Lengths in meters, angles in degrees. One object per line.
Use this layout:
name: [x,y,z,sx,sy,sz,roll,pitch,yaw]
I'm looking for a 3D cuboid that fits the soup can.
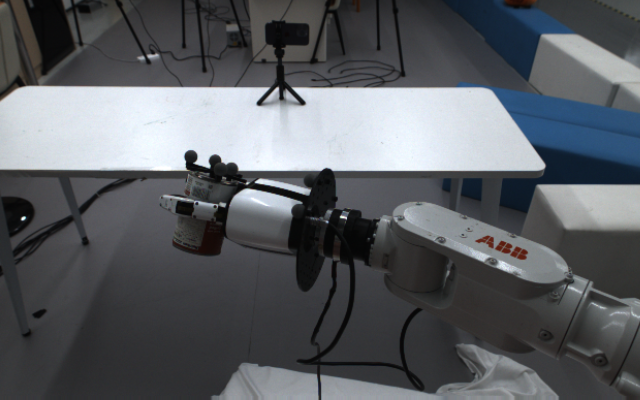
soup can: [-0.153,0.018,0.650,0.067,0.101,0.067,15,7,-2]
